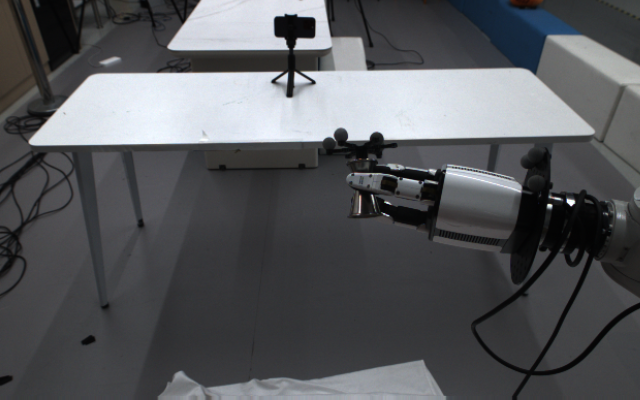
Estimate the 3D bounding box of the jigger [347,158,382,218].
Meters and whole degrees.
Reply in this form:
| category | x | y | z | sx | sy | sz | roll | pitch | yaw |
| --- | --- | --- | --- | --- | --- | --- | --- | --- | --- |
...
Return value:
| category | x | y | z | sx | sy | sz | roll | pitch | yaw |
| --- | --- | --- | --- | --- | --- | --- | --- | --- | --- |
| jigger | 0.053 | -0.014 | 0.594 | 0.043 | 0.071 | 0.043 | -2 | -7 | 0 |
